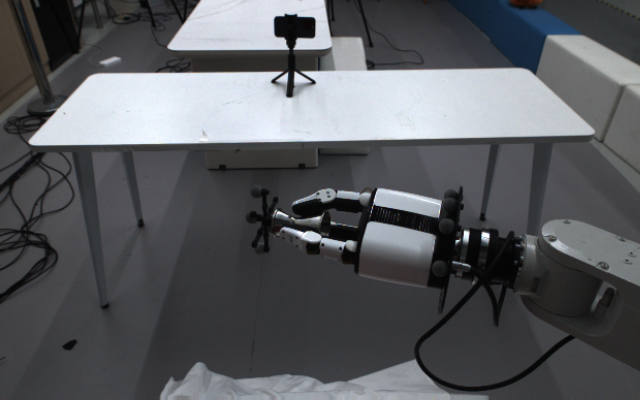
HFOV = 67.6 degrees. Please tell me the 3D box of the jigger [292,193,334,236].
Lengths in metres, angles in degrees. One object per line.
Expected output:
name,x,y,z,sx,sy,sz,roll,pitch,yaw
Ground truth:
jigger,-0.018,0.031,0.633,0.071,0.043,0.043,5,34,18
